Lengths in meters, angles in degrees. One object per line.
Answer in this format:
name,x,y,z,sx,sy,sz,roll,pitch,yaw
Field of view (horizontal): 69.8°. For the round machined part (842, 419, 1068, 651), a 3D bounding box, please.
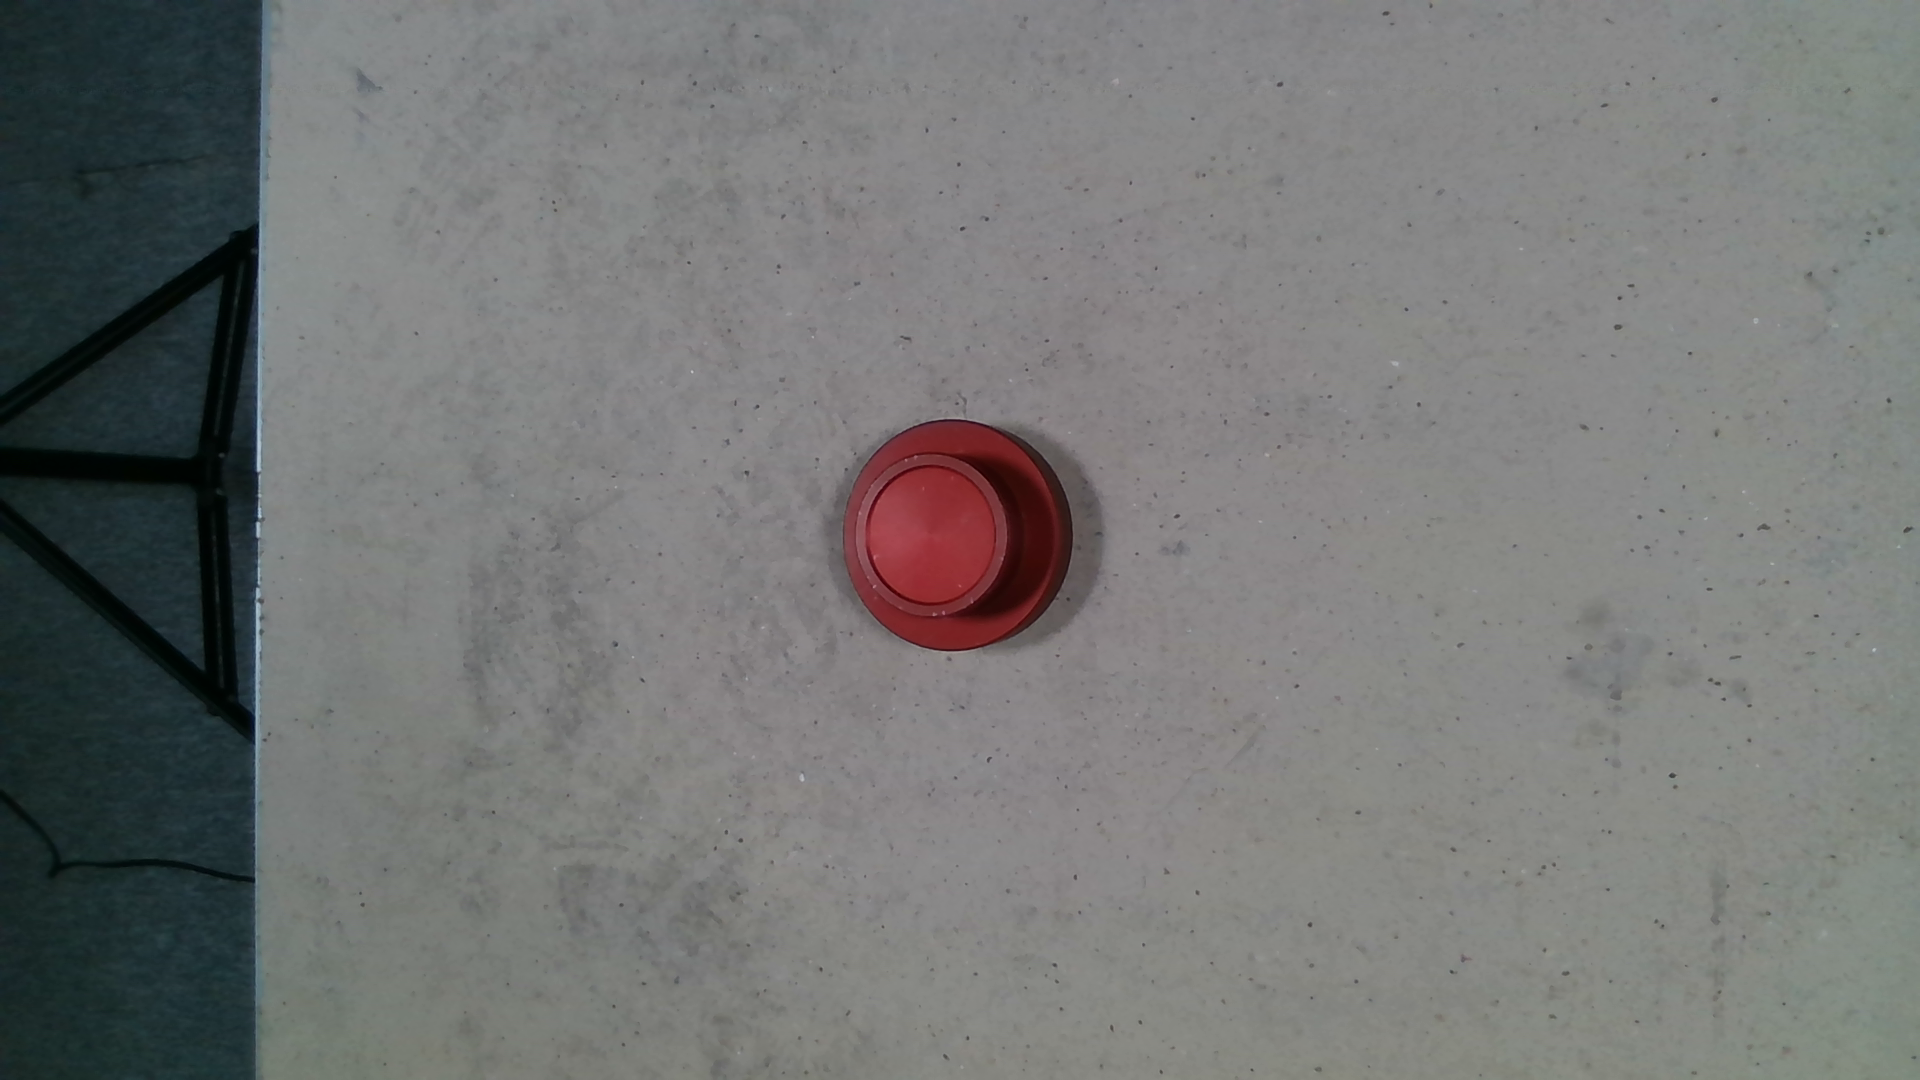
round machined part,-0.006,-0.002,0.578,0.098,0.042,0.098,0,91,20
